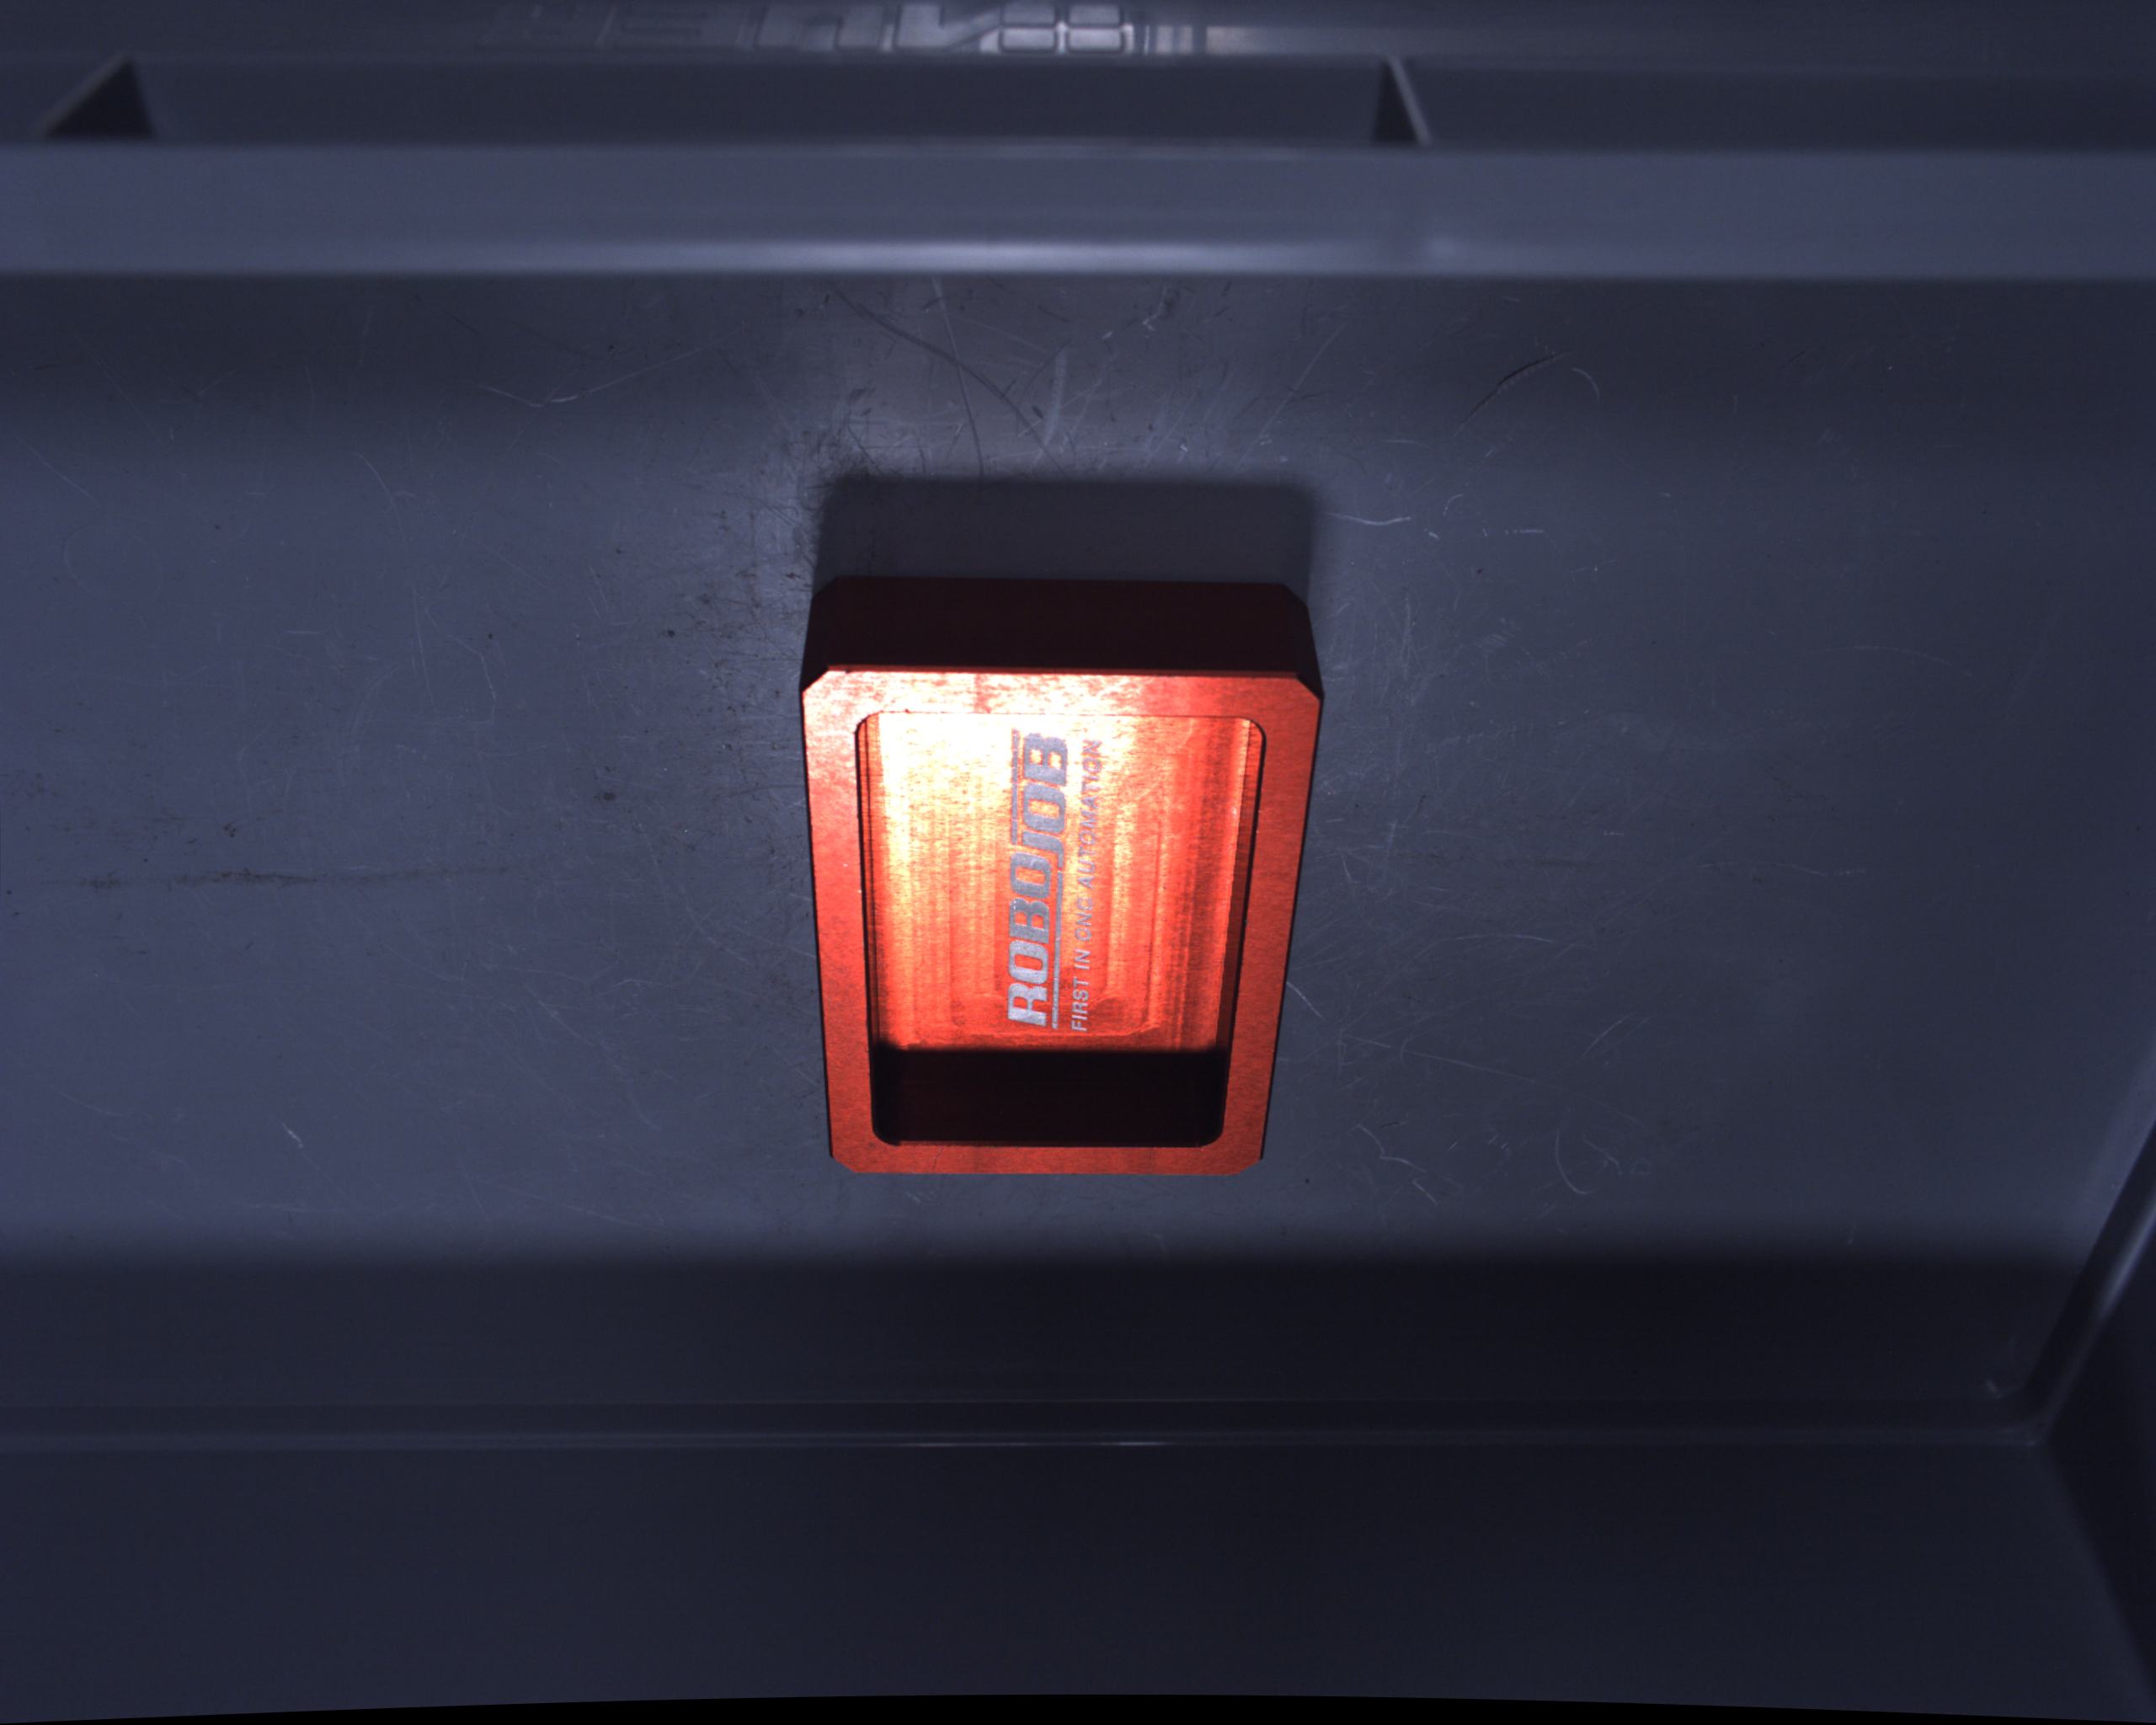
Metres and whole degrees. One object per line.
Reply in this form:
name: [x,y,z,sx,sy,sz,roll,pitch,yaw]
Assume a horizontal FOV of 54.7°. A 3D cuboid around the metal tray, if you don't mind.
metal tray: [-0.005,0.007,0.408,0.091,0.030,0.129,1,130,-2]
